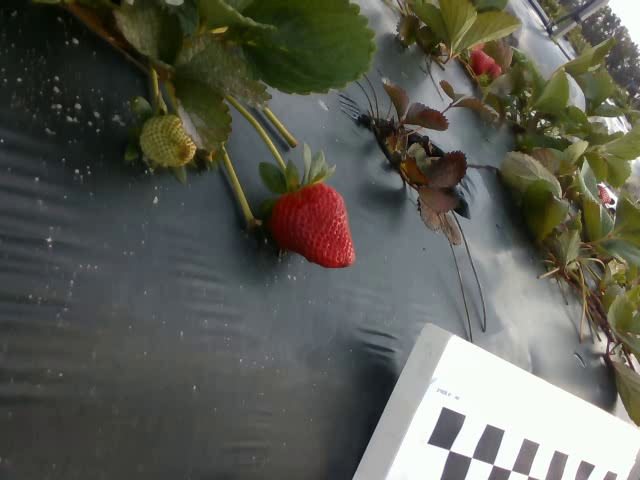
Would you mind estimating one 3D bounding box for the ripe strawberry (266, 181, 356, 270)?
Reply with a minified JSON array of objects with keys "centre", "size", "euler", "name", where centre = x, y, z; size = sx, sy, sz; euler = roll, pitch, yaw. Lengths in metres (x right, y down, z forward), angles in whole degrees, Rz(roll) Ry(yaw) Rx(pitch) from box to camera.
[{"centre":[-0.001,-0.004,0.297],"size":[0.045,0.042,0.055],"euler":[-28,53,-23],"name":"ripe strawberry"}]
